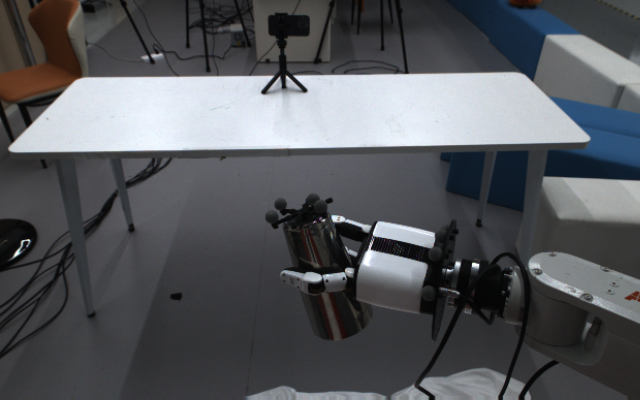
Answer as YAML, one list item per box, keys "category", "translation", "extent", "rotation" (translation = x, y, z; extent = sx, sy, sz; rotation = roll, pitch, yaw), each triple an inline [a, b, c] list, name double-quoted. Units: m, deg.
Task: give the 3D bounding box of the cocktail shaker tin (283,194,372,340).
- category: "cocktail shaker tin"
  translation: [0.007, 0.098, 0.674]
  extent: [0.093, 0.170, 0.093]
  rotation: [-17, 20, 7]
